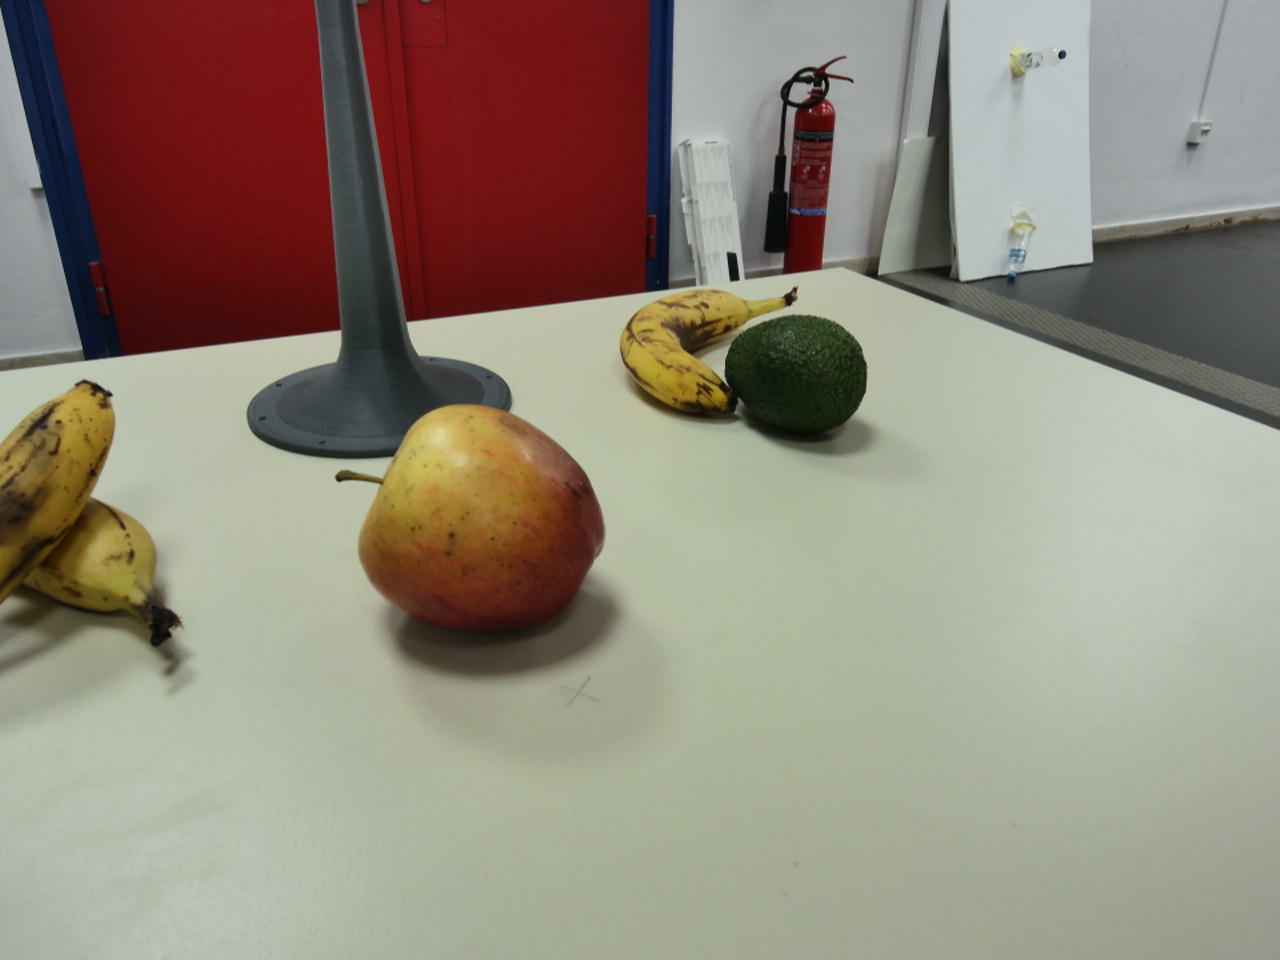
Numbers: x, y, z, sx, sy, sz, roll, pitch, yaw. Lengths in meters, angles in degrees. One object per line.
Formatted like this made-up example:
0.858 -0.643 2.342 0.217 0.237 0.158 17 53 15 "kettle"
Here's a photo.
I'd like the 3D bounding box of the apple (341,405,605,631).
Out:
-0.062 0.015 0.381 0.093 0.084 0.086 13 27 25 "apple"
